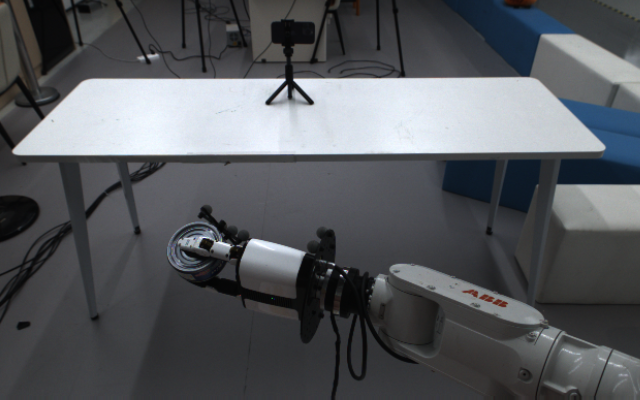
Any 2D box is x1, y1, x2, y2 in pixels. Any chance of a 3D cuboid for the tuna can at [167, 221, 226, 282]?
[{"bbox_3d":[-0.179,0.076,0.714,0.085,0.034,0.085,-4,58,6],"label":"tuna can"}]
